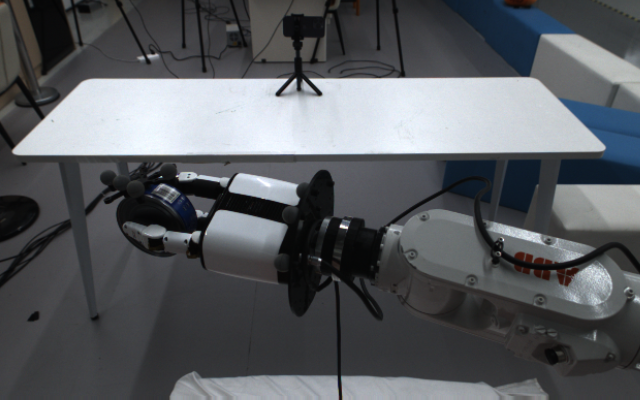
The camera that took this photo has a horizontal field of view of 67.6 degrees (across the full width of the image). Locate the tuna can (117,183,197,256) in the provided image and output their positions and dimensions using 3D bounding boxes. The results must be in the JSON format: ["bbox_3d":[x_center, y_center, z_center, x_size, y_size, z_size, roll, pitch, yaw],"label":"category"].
[{"bbox_3d":[-0.182,0.024,0.558,0.085,0.085,0.034,9,33,10],"label":"tuna can"}]
